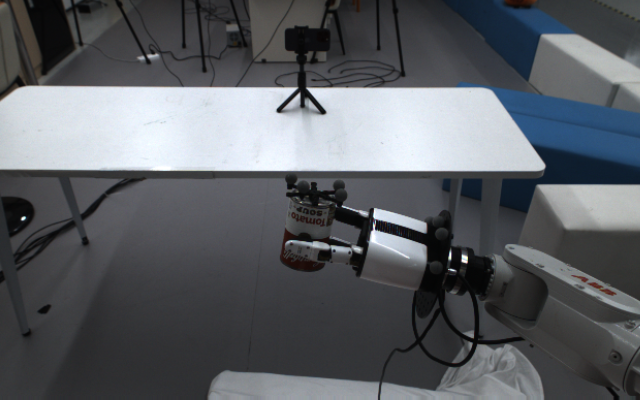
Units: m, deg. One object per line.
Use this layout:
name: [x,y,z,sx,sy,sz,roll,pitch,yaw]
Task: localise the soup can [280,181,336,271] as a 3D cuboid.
soup can: [-0.016,0.042,0.693,0.067,0.101,0.067,9,20,-3]
